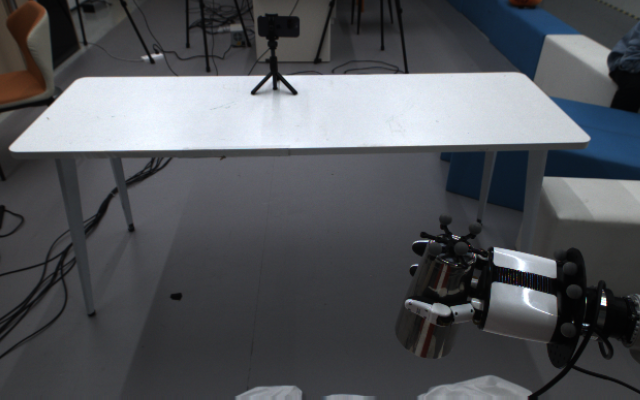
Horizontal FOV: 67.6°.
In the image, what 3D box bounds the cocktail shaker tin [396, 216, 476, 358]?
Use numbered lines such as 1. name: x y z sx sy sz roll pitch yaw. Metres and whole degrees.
1. cocktail shaker tin: 0.168 0.131 0.685 0.093 0.170 0.093 4 36 -3
